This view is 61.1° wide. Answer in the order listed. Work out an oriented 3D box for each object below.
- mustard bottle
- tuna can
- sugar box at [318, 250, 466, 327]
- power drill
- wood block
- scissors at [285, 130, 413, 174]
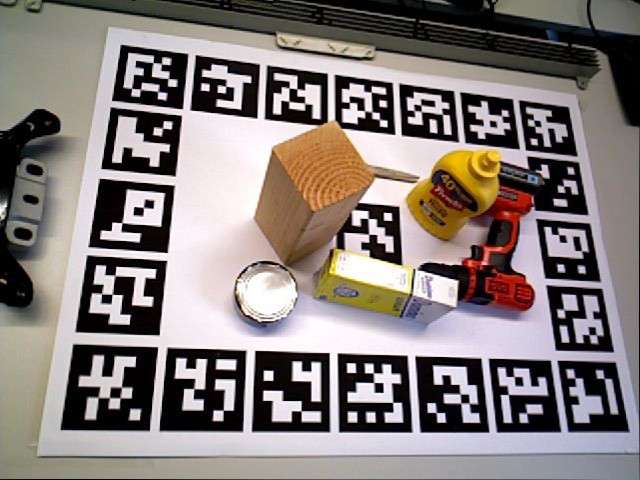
[{"bbox_3d":[0.196,-0.071,0.742,0.057,0.195,0.096,-37,83,-21],"label":"mustard bottle"},{"bbox_3d":[-0.072,0.069,0.710,0.085,0.034,0.085,4,72,-12],"label":"tuna can"},{"bbox_3d":[0.094,0.066,0.721,0.175,0.095,0.045,17,65,-9],"label":"sugar box"},{"bbox_3d":[0.229,0.001,0.790,0.183,0.058,0.186,17,76,-6],"label":"power drill"},{"bbox_3d":[-0.015,-0.055,0.683,0.089,0.210,0.090,-24,79,-20],"label":"wood block"},{"bbox_3d":[0.044,-0.113,0.808,0.201,0.016,0.087,7,67,-10],"label":"scissors"}]
